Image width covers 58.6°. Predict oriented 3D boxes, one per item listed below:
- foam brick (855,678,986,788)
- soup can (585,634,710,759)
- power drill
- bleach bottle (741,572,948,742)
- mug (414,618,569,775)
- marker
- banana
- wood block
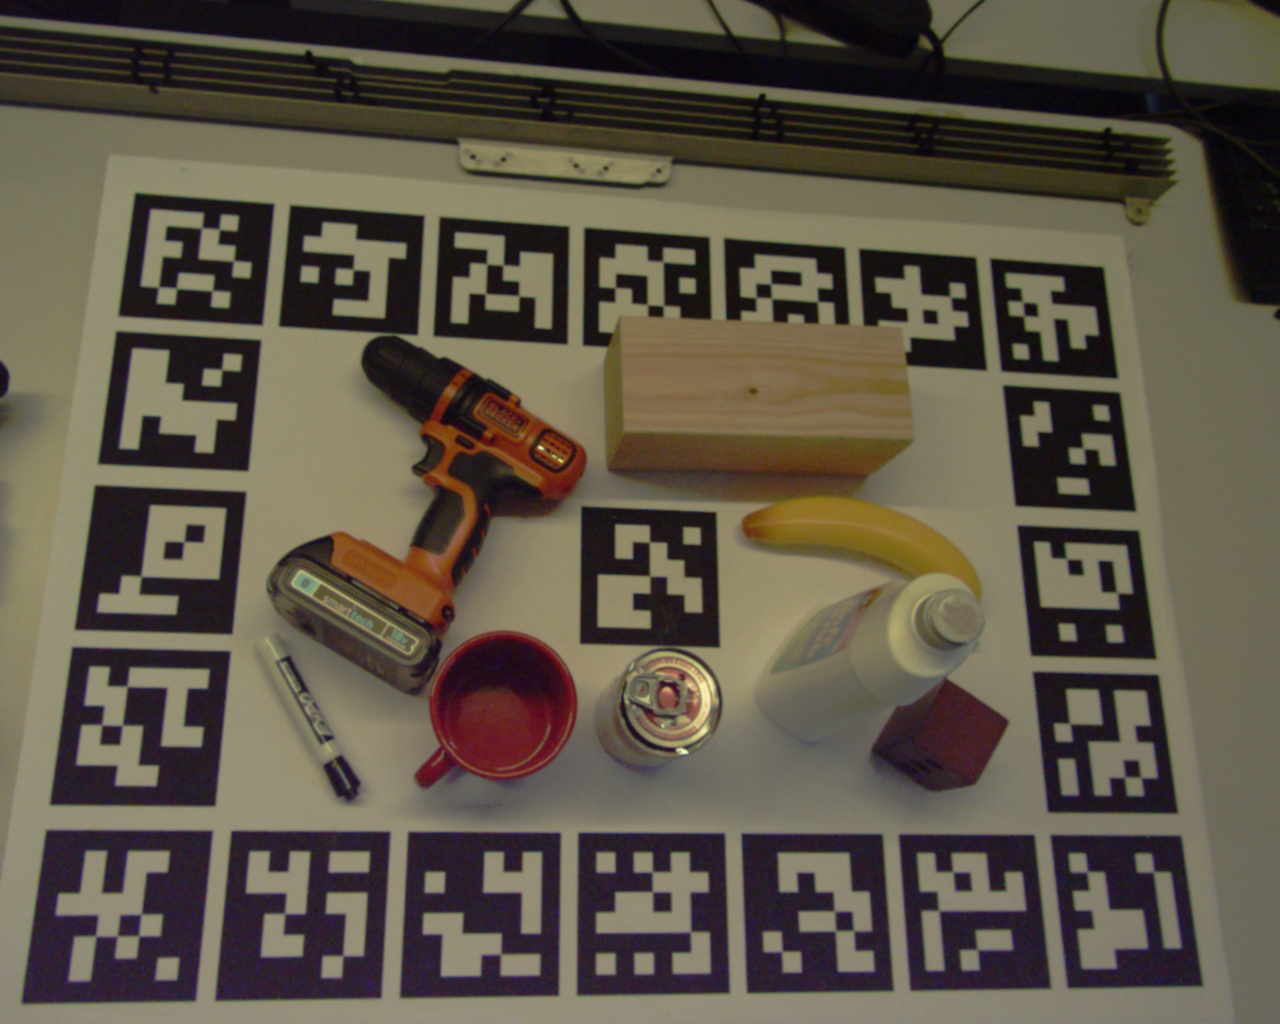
[{"bbox_3d":[0.199,0.159,0.818,0.053,0.078,0.051,35,69,4],"label":"foam brick"},{"bbox_3d":[0.002,0.128,0.776,0.067,0.102,0.068,4,69,-10],"label":"soup can"},{"bbox_3d":[-0.157,-0.006,0.827,0.184,0.057,0.186,31,70,-2],"label":"power drill"},{"bbox_3d":[0.137,0.086,0.738,0.068,0.251,0.102,31,70,1],"label":"bleach bottle"},{"bbox_3d":[-0.107,0.132,0.773,0.093,0.082,0.117,45,75,3],"label":"mug"},{"bbox_3d":[-0.227,0.138,0.789,0.019,0.020,0.121,-27,80,-14],"label":"marker"},{"bbox_3d":[0.153,0.017,0.870,0.197,0.039,0.074,18,85,-5],"label":"banana"},{"bbox_3d":[0.078,-0.078,0.864,0.205,0.091,0.090,2,74,-9],"label":"wood block"}]
